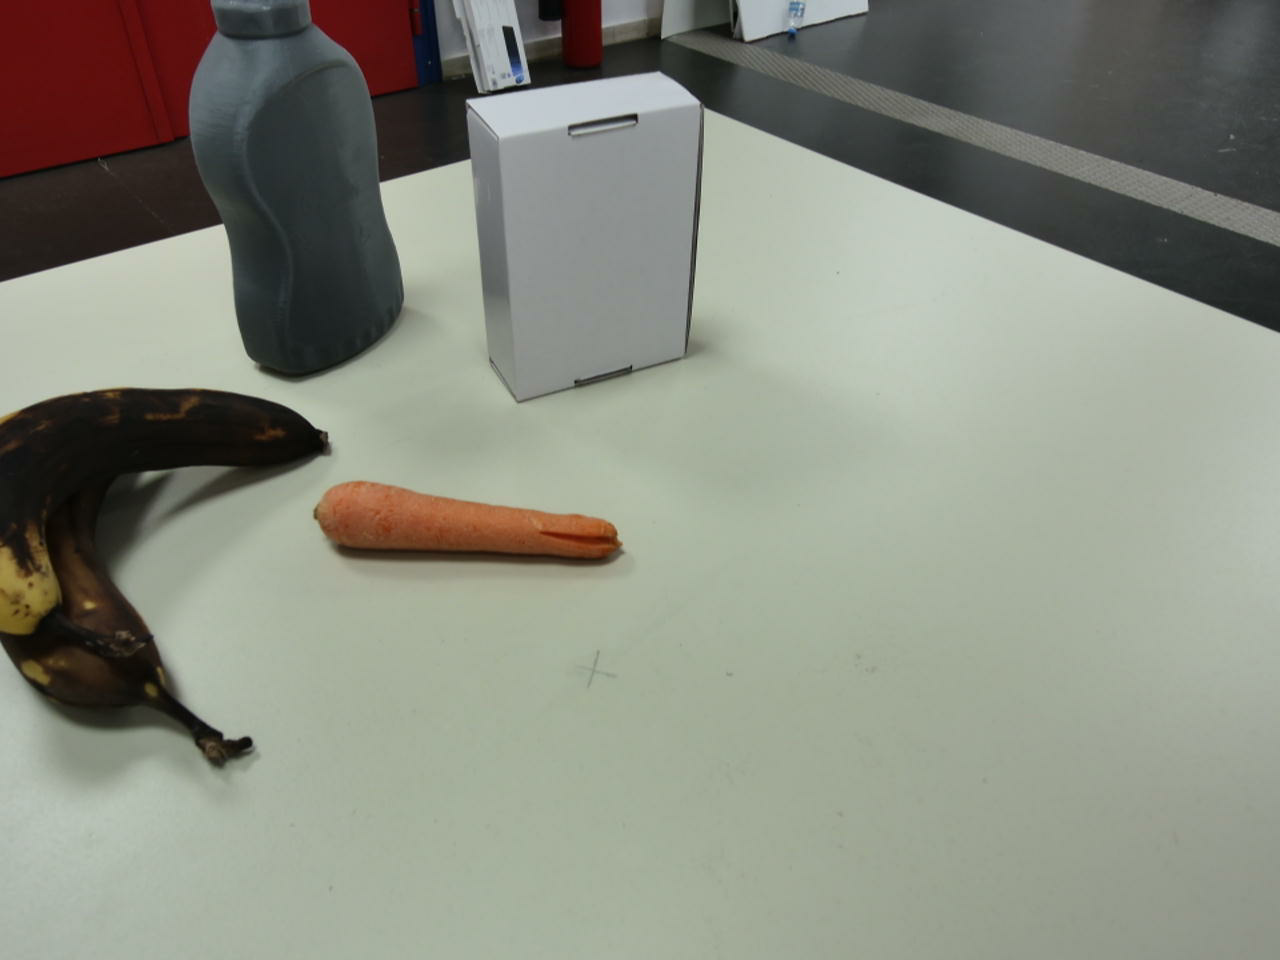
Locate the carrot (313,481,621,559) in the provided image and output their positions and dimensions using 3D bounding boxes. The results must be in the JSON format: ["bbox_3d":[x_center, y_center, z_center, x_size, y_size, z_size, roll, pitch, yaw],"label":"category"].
[{"bbox_3d":[-0.076,0.019,0.441,0.136,0.032,0.030,3,37,4],"label":"carrot"}]
